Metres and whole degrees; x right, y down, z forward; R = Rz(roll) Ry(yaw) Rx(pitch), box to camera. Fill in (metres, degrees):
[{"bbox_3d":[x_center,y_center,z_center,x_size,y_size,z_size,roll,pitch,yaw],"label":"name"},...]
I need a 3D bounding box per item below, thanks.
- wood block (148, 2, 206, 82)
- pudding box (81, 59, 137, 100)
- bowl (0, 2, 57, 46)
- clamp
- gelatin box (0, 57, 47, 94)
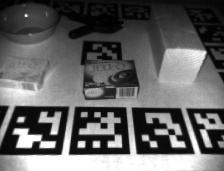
[{"bbox_3d":[0.149,-0.116,0.533,0.090,0.091,0.205,4,48,-2],"label":"wood block"},{"bbox_3d":[-0.008,-0.014,0.463,0.114,0.039,0.089,-1,52,-3],"label":"pudding box"},{"bbox_3d":[-0.223,-0.154,0.566,0.162,0.055,0.161,3,51,-3],"label":"bowl"},{"bbox_3d":[-0.063,-0.176,0.615,0.166,0.037,0.121,-6,49,-13],"label":"clamp"},{"bbox_3d":[-0.195,-0.024,0.458,0.089,0.030,0.073,7,50,1],"label":"gelatin box"}]
